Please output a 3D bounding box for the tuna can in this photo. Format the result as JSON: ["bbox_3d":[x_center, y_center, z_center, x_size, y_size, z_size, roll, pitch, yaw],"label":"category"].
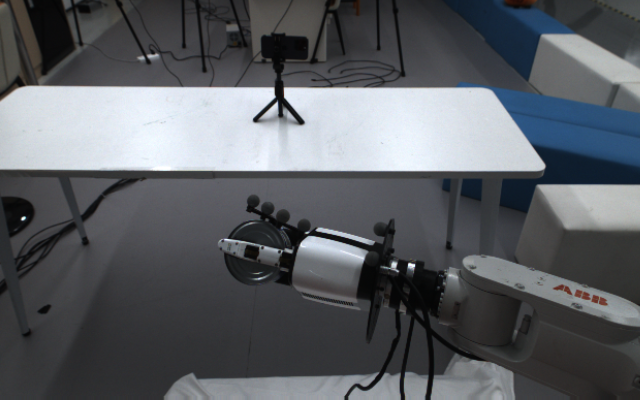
[{"bbox_3d":[-0.079,0.069,0.641,0.085,0.085,0.034,13,-5,16],"label":"tuna can"}]
